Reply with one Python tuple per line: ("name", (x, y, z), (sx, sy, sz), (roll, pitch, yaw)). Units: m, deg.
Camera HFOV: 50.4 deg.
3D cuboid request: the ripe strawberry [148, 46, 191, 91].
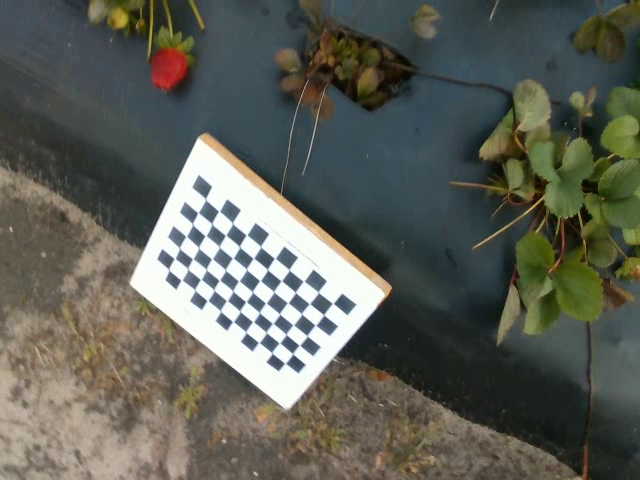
("ripe strawberry", (-0.180, -0.178, 0.799), (0.045, 0.055, 0.042), (-5, -39, 31))
